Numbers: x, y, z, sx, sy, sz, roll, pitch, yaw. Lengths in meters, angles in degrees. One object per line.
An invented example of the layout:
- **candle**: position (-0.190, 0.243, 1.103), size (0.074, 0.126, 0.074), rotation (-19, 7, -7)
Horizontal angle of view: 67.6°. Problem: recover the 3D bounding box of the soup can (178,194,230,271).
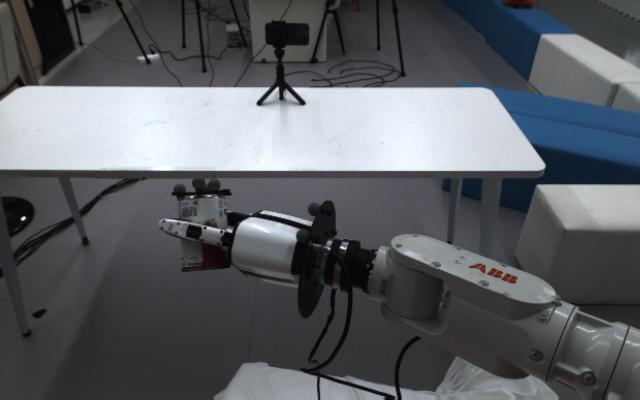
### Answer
- **soup can**: position (-0.160, 0.048, 0.677), size (0.067, 0.101, 0.067), rotation (-5, -5, 0)
